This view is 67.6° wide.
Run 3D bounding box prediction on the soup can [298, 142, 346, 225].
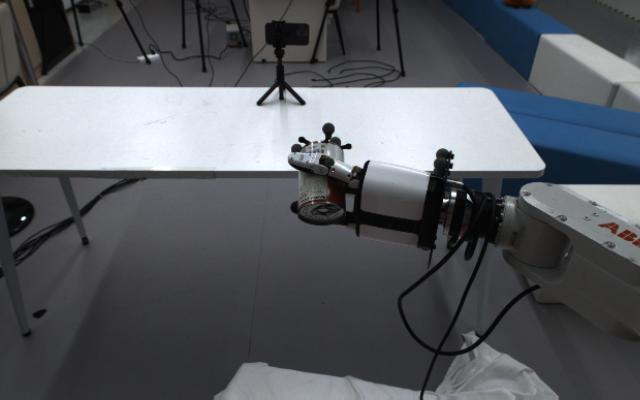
[{"bbox_3d":[0.002,-0.025,0.683,0.067,0.067,0.101,1,61,-2],"label":"soup can"}]
